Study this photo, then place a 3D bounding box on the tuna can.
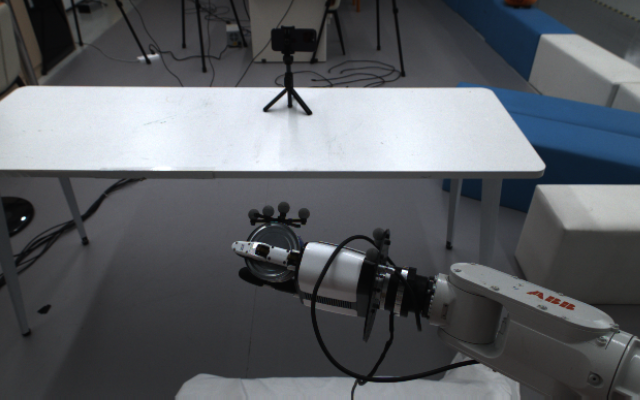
[{"bbox_3d":[-0.065,0.077,0.708,0.085,0.034,0.085,-5,71,14],"label":"tuna can"}]
